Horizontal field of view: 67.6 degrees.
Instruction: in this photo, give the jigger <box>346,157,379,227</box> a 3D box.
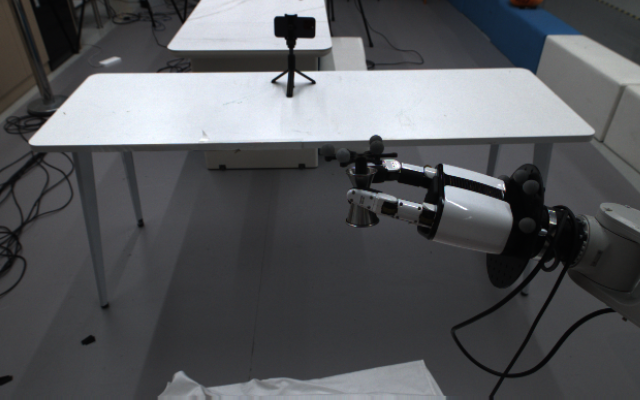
[{"bbox_3d":[0.053,-0.005,0.611,0.043,0.071,0.043,-2,19,1],"label":"jigger"}]
